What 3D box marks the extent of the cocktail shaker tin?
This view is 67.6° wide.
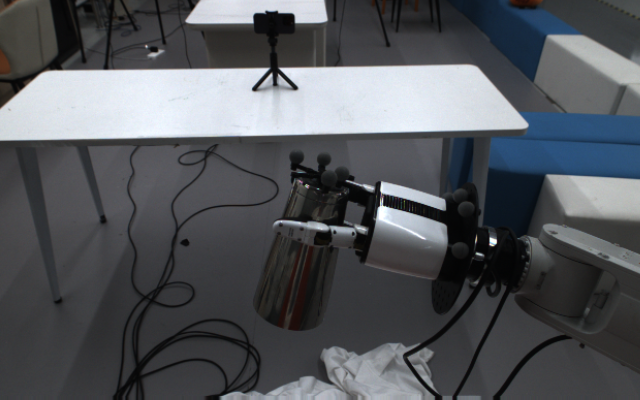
[{"bbox_3d":[-0.016,0.056,0.584,0.093,0.170,0.093,14,19,-5],"label":"cocktail shaker tin"}]
